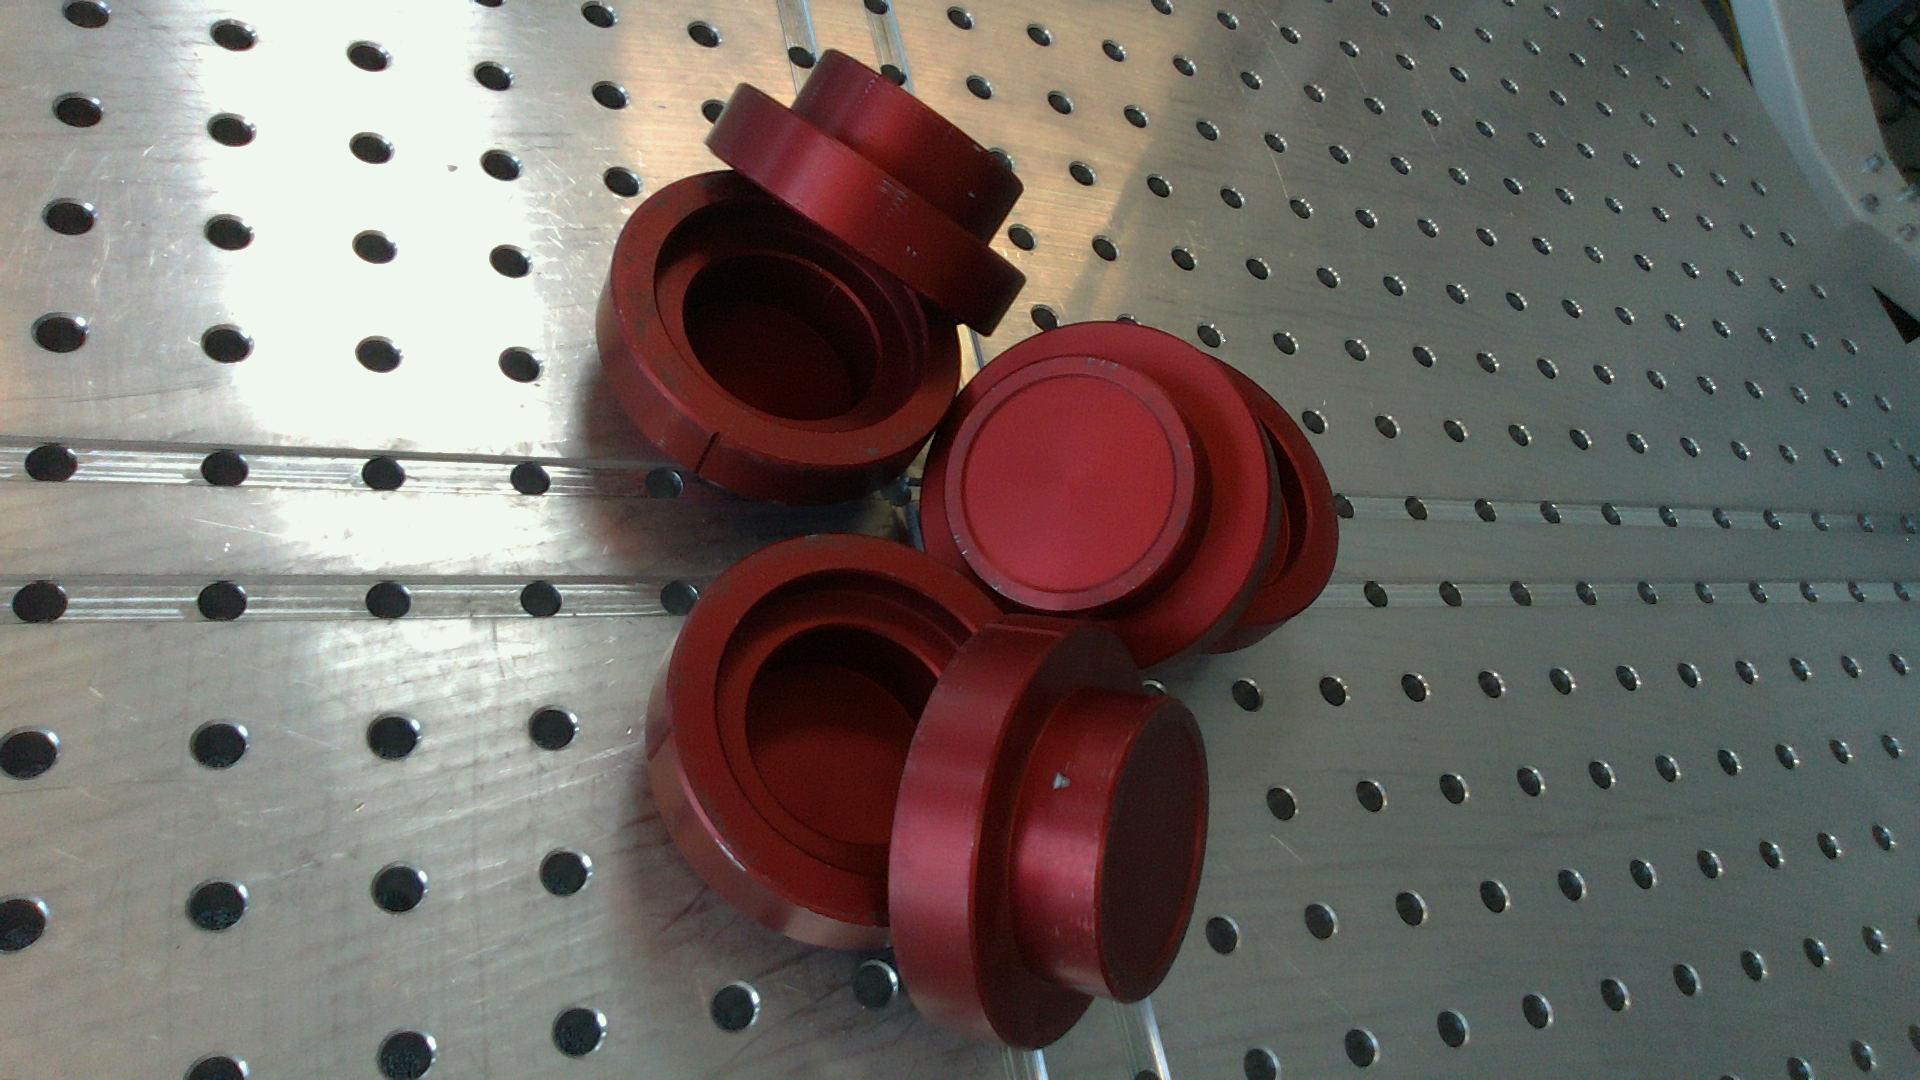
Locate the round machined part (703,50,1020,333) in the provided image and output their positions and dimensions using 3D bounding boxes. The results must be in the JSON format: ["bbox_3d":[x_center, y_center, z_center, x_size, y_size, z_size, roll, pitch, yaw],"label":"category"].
[{"bbox_3d":[-0.022,-0.104,0.398,0.098,0.042,0.098,33,7,-4],"label":"round machined part"}]

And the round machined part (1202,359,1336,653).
[{"bbox_3d":[0.062,-0.010,0.420,0.098,0.042,0.098,14,56,-21],"label":"round machined part"}]

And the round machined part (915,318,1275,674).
[{"bbox_3d":[0.033,-0.013,0.368,0.098,0.098,0.042,63,12,17],"label":"round machined part"}]

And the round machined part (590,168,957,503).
[{"bbox_3d":[-0.054,-0.052,0.384,0.098,0.042,0.098,14,56,-21],"label":"round machined part"}]

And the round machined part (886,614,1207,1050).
[{"bbox_3d":[0.026,0.067,0.318,0.098,0.042,0.098,-14,106,-60],"label":"round machined part"}]

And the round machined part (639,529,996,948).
[{"bbox_3d":[-0.029,0.050,0.335,0.098,0.042,0.098,14,56,-21],"label":"round machined part"}]
